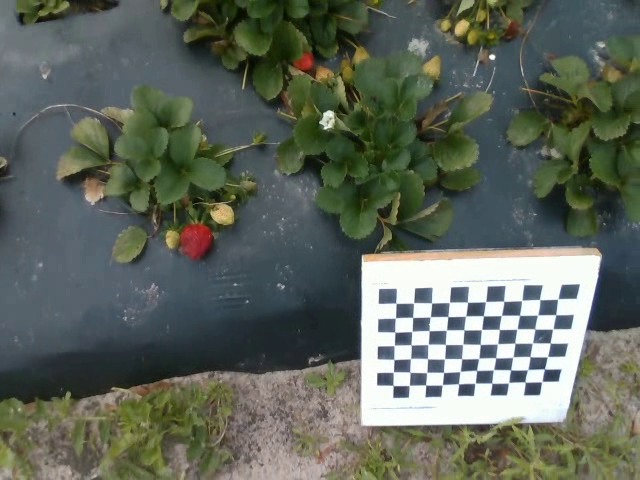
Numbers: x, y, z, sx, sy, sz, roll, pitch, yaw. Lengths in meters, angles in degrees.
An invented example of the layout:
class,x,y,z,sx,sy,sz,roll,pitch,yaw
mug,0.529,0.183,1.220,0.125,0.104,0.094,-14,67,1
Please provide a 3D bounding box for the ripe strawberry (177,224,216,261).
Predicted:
class,x,y,z,sx,sy,sz,roll,pitch,yaw
ripe strawberry,-0.164,0.006,0.800,0.046,0.059,0.046,-6,-41,4
